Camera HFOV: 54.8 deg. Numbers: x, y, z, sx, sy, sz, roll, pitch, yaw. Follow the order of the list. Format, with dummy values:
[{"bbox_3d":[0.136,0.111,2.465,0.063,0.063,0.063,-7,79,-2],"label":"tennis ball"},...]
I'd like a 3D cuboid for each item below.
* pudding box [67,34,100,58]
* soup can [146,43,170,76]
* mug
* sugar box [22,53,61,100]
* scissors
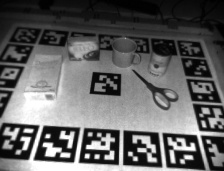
[{"bbox_3d":[-0.100,-0.144,0.779,0.114,0.090,0.038,-4,59,-8],"label":"pudding box"},{"bbox_3d":[0.162,-0.091,0.768,0.068,0.102,0.067,2,50,-2],"label":"soup can"},{"bbox_3d":[0.049,-0.129,0.791,0.094,0.082,0.116,-27,57,-20],"label":"mug"},{"bbox_3d":[-0.228,-0.035,0.719,0.093,0.045,0.175,1,53,-2],"label":"sugar box"},{"bbox_3d":[0.133,0.003,0.735,0.088,0.016,0.200,-36,64,-18],"label":"scissors"}]
